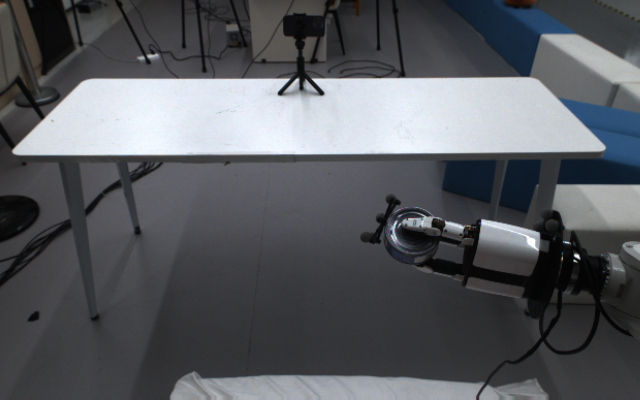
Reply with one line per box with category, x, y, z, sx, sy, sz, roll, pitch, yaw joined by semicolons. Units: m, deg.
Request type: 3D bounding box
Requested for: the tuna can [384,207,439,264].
tuna can;0.144;0.053;0.745;0.085;0.034;0.085;-1;61;1
